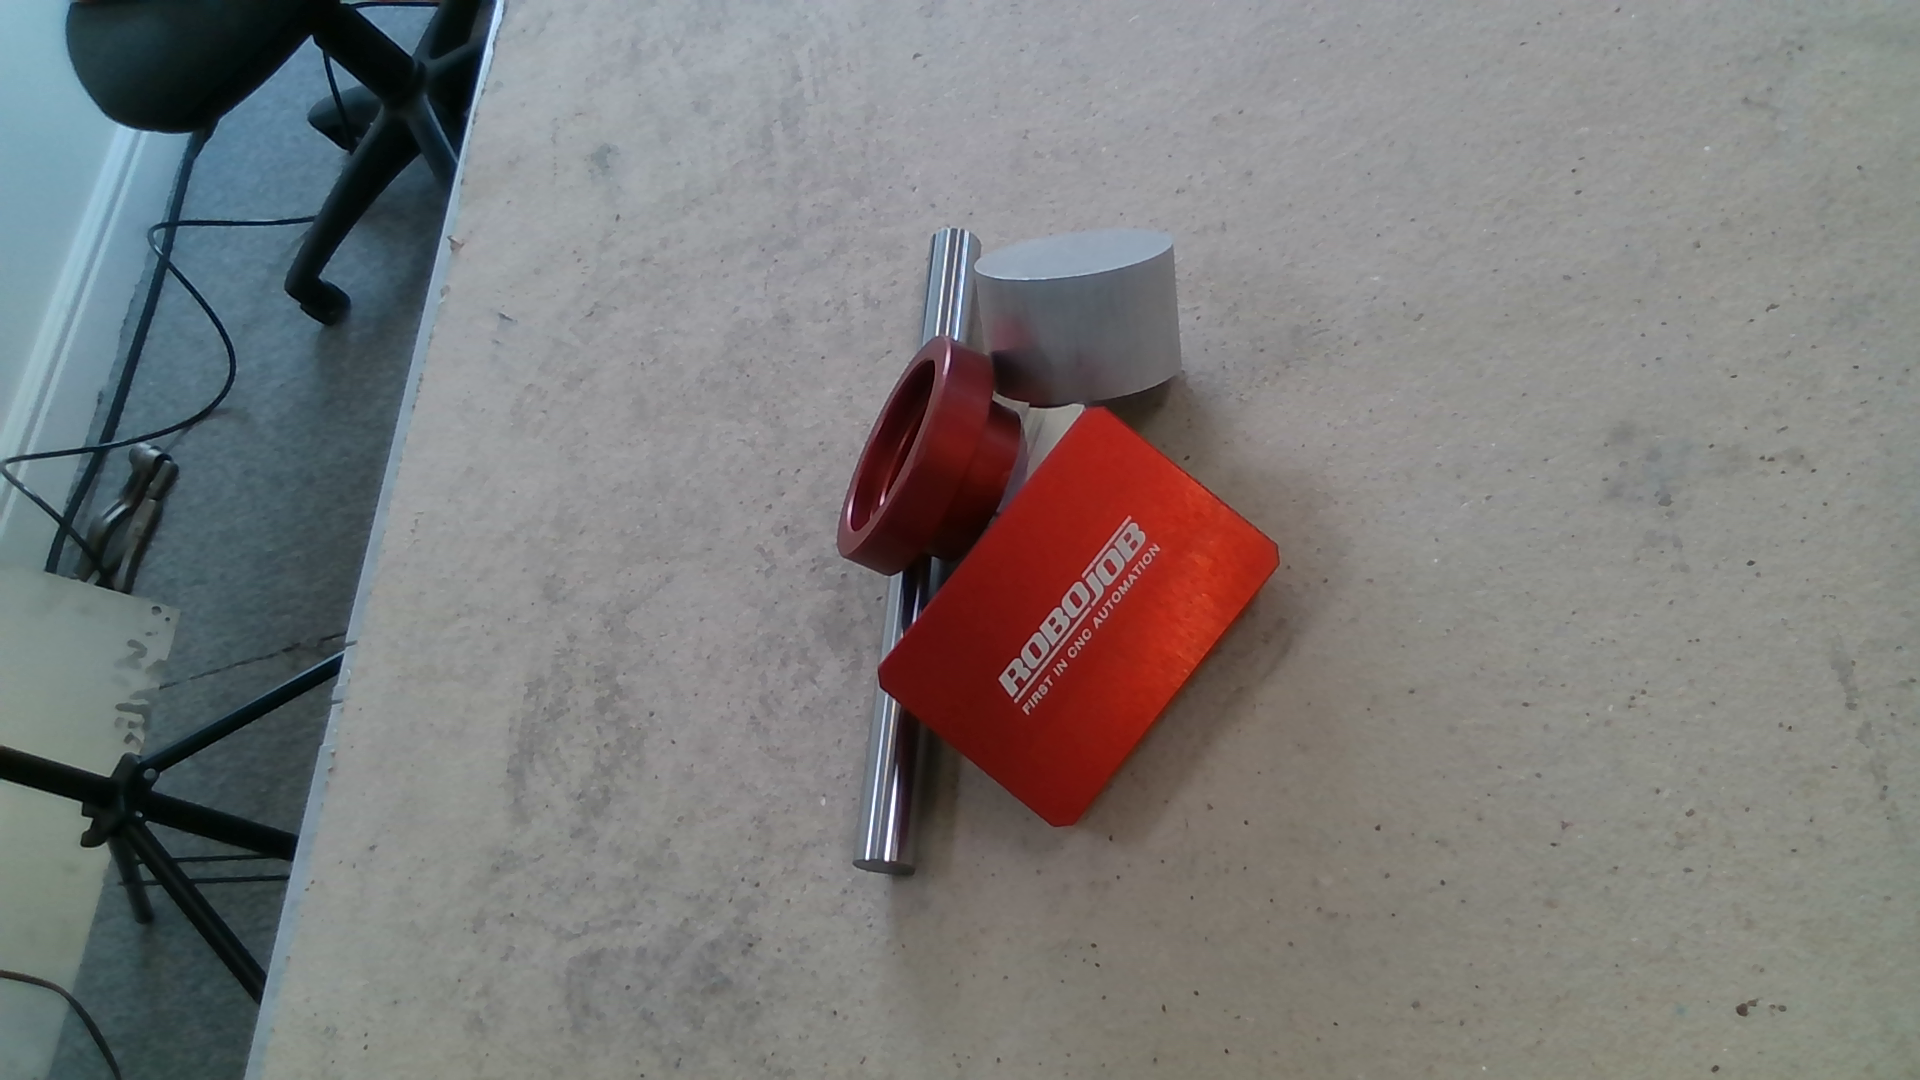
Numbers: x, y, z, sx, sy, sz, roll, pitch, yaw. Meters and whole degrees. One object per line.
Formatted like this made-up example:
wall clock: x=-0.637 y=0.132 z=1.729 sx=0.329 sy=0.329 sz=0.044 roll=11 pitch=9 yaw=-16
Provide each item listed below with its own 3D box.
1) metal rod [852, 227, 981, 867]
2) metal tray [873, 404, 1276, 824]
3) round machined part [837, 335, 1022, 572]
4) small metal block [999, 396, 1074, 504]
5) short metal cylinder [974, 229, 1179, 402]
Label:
metal rod: x=-0.016 y=-0.008 z=0.601 sx=0.025 sy=0.025 sz=0.299 roll=-8 pitch=61 yaw=28
metal tray: x=0.041 y=0.027 z=0.510 sx=0.090 sy=0.030 sz=0.130 roll=39 pitch=89 yaw=0
round machined part: x=-0.010 y=-0.030 z=0.557 sx=0.098 sy=0.042 sz=0.098 roll=-55 pitch=20 yaw=31
small metal block: x=0.040 y=-0.023 z=0.556 sx=0.025 sy=0.050 sz=0.050 roll=11 pitch=71 yaw=35
short metal cylinder: x=0.049 y=-0.094 z=0.564 sx=0.080 sy=0.050 sz=0.080 roll=-7 pitch=23 yaw=3
